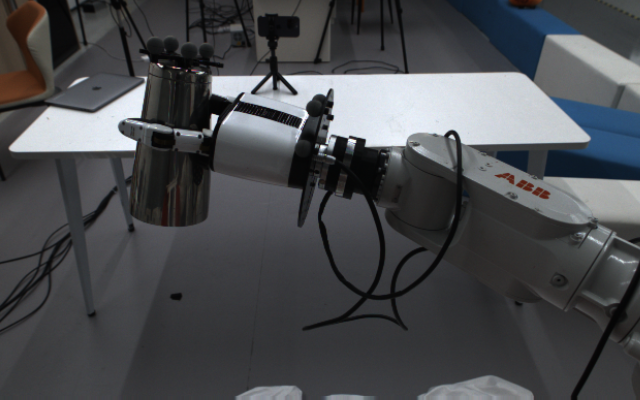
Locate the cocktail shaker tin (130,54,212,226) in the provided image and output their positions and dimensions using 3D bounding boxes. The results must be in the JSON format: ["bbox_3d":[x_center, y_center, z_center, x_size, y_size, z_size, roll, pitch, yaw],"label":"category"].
[{"bbox_3d":[-0.164,-0.065,0.551,0.093,0.170,0.093,10,19,-3],"label":"cocktail shaker tin"}]
